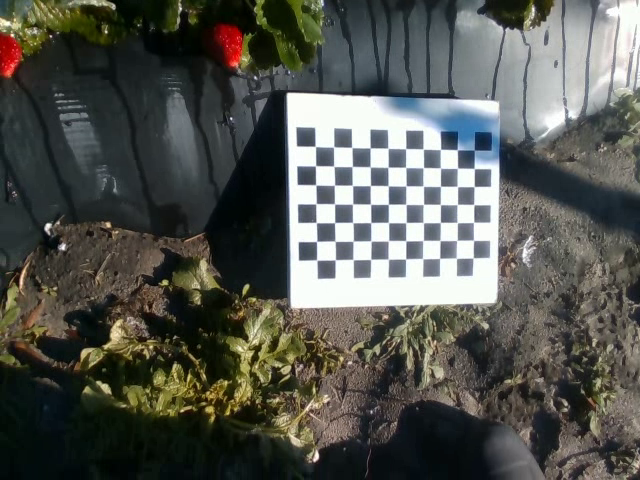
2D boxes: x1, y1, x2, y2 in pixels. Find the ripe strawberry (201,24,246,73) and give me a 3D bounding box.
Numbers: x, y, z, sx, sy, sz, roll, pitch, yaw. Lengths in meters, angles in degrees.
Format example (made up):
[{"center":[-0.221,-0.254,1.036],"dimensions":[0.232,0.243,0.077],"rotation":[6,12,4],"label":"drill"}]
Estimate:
[{"center":[-0.089,-0.185,0.520],"dimensions":[0.041,0.053,0.047],"rotation":[-7,-33,-11],"label":"ripe strawberry"}]
